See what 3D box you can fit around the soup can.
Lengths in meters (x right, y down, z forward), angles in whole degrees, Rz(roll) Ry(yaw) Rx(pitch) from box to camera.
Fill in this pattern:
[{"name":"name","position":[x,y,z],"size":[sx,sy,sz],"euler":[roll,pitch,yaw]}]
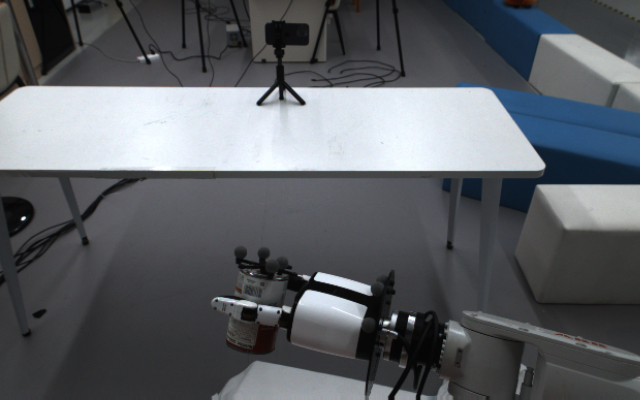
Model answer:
[{"name":"soup can","position":[-0.081,0.144,0.640],"size":[0.067,0.101,0.067],"euler":[12,2,0]}]
